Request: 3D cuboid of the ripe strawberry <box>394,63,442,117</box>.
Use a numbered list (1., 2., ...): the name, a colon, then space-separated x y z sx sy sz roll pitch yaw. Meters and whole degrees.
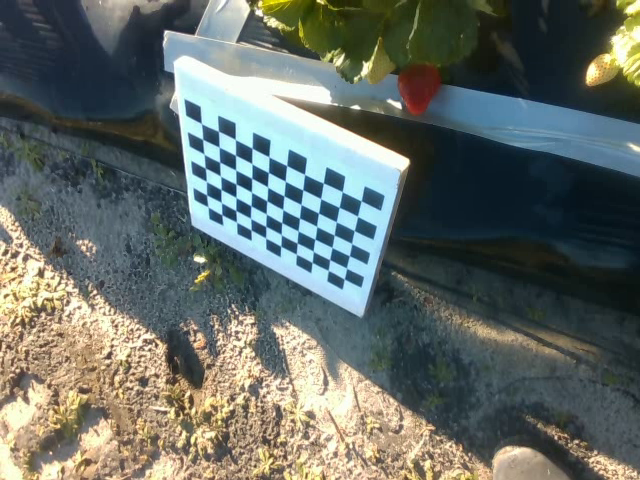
1. ripe strawberry: 0.093 -0.145 0.611 0.048 0.064 0.045 17 -28 -18
